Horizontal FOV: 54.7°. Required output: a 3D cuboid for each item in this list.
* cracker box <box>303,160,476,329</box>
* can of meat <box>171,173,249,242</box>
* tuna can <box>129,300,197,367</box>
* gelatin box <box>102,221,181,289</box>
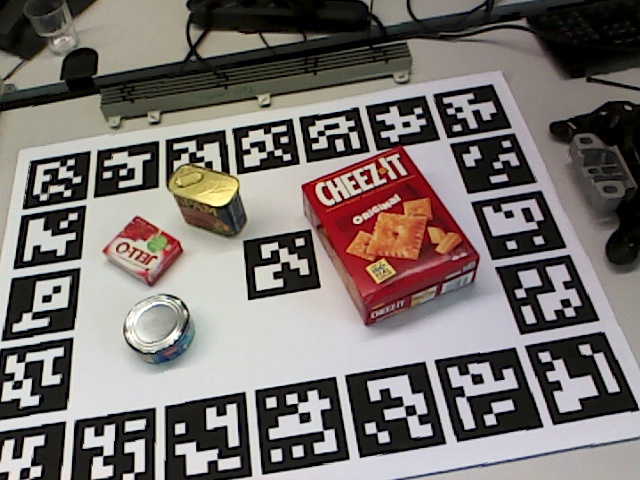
[{"bbox_3d":[0.092,-0.002,0.878,0.164,0.072,0.215,-23,54,-12],"label":"cracker box"},{"bbox_3d":[-0.163,-0.047,0.935,0.102,0.083,0.058,15,57,18],"label":"can of meat"},{"bbox_3d":[-0.211,0.127,0.834,0.086,0.033,0.086,-3,57,5],"label":"tuna can"},{"bbox_3d":[-0.265,0.021,0.922,0.090,0.030,0.073,27,59,20],"label":"gelatin box"}]
